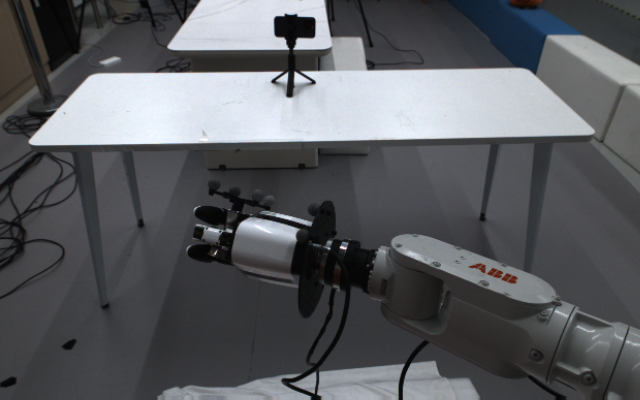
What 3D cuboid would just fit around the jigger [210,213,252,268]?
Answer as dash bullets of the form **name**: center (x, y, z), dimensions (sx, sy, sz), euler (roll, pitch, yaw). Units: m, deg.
- **jigger**: center (-0.123, 0.048, 0.677), dimensions (0.043, 0.071, 0.043), euler (15, -7, 2)
